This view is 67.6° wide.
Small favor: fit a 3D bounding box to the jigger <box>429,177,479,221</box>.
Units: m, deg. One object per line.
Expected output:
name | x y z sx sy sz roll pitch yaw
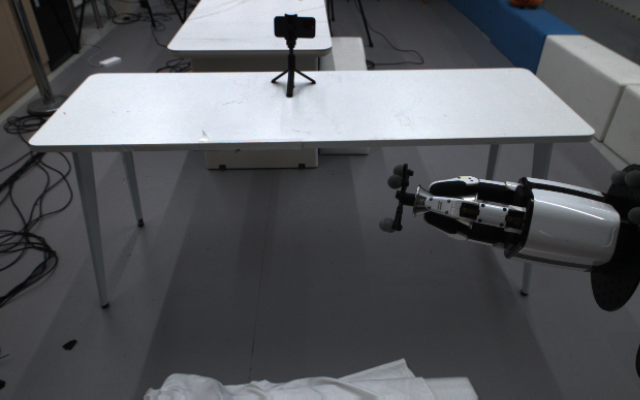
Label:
jigger | 0.153 0.003 0.569 0.071 0.043 0.043 10 35 16
